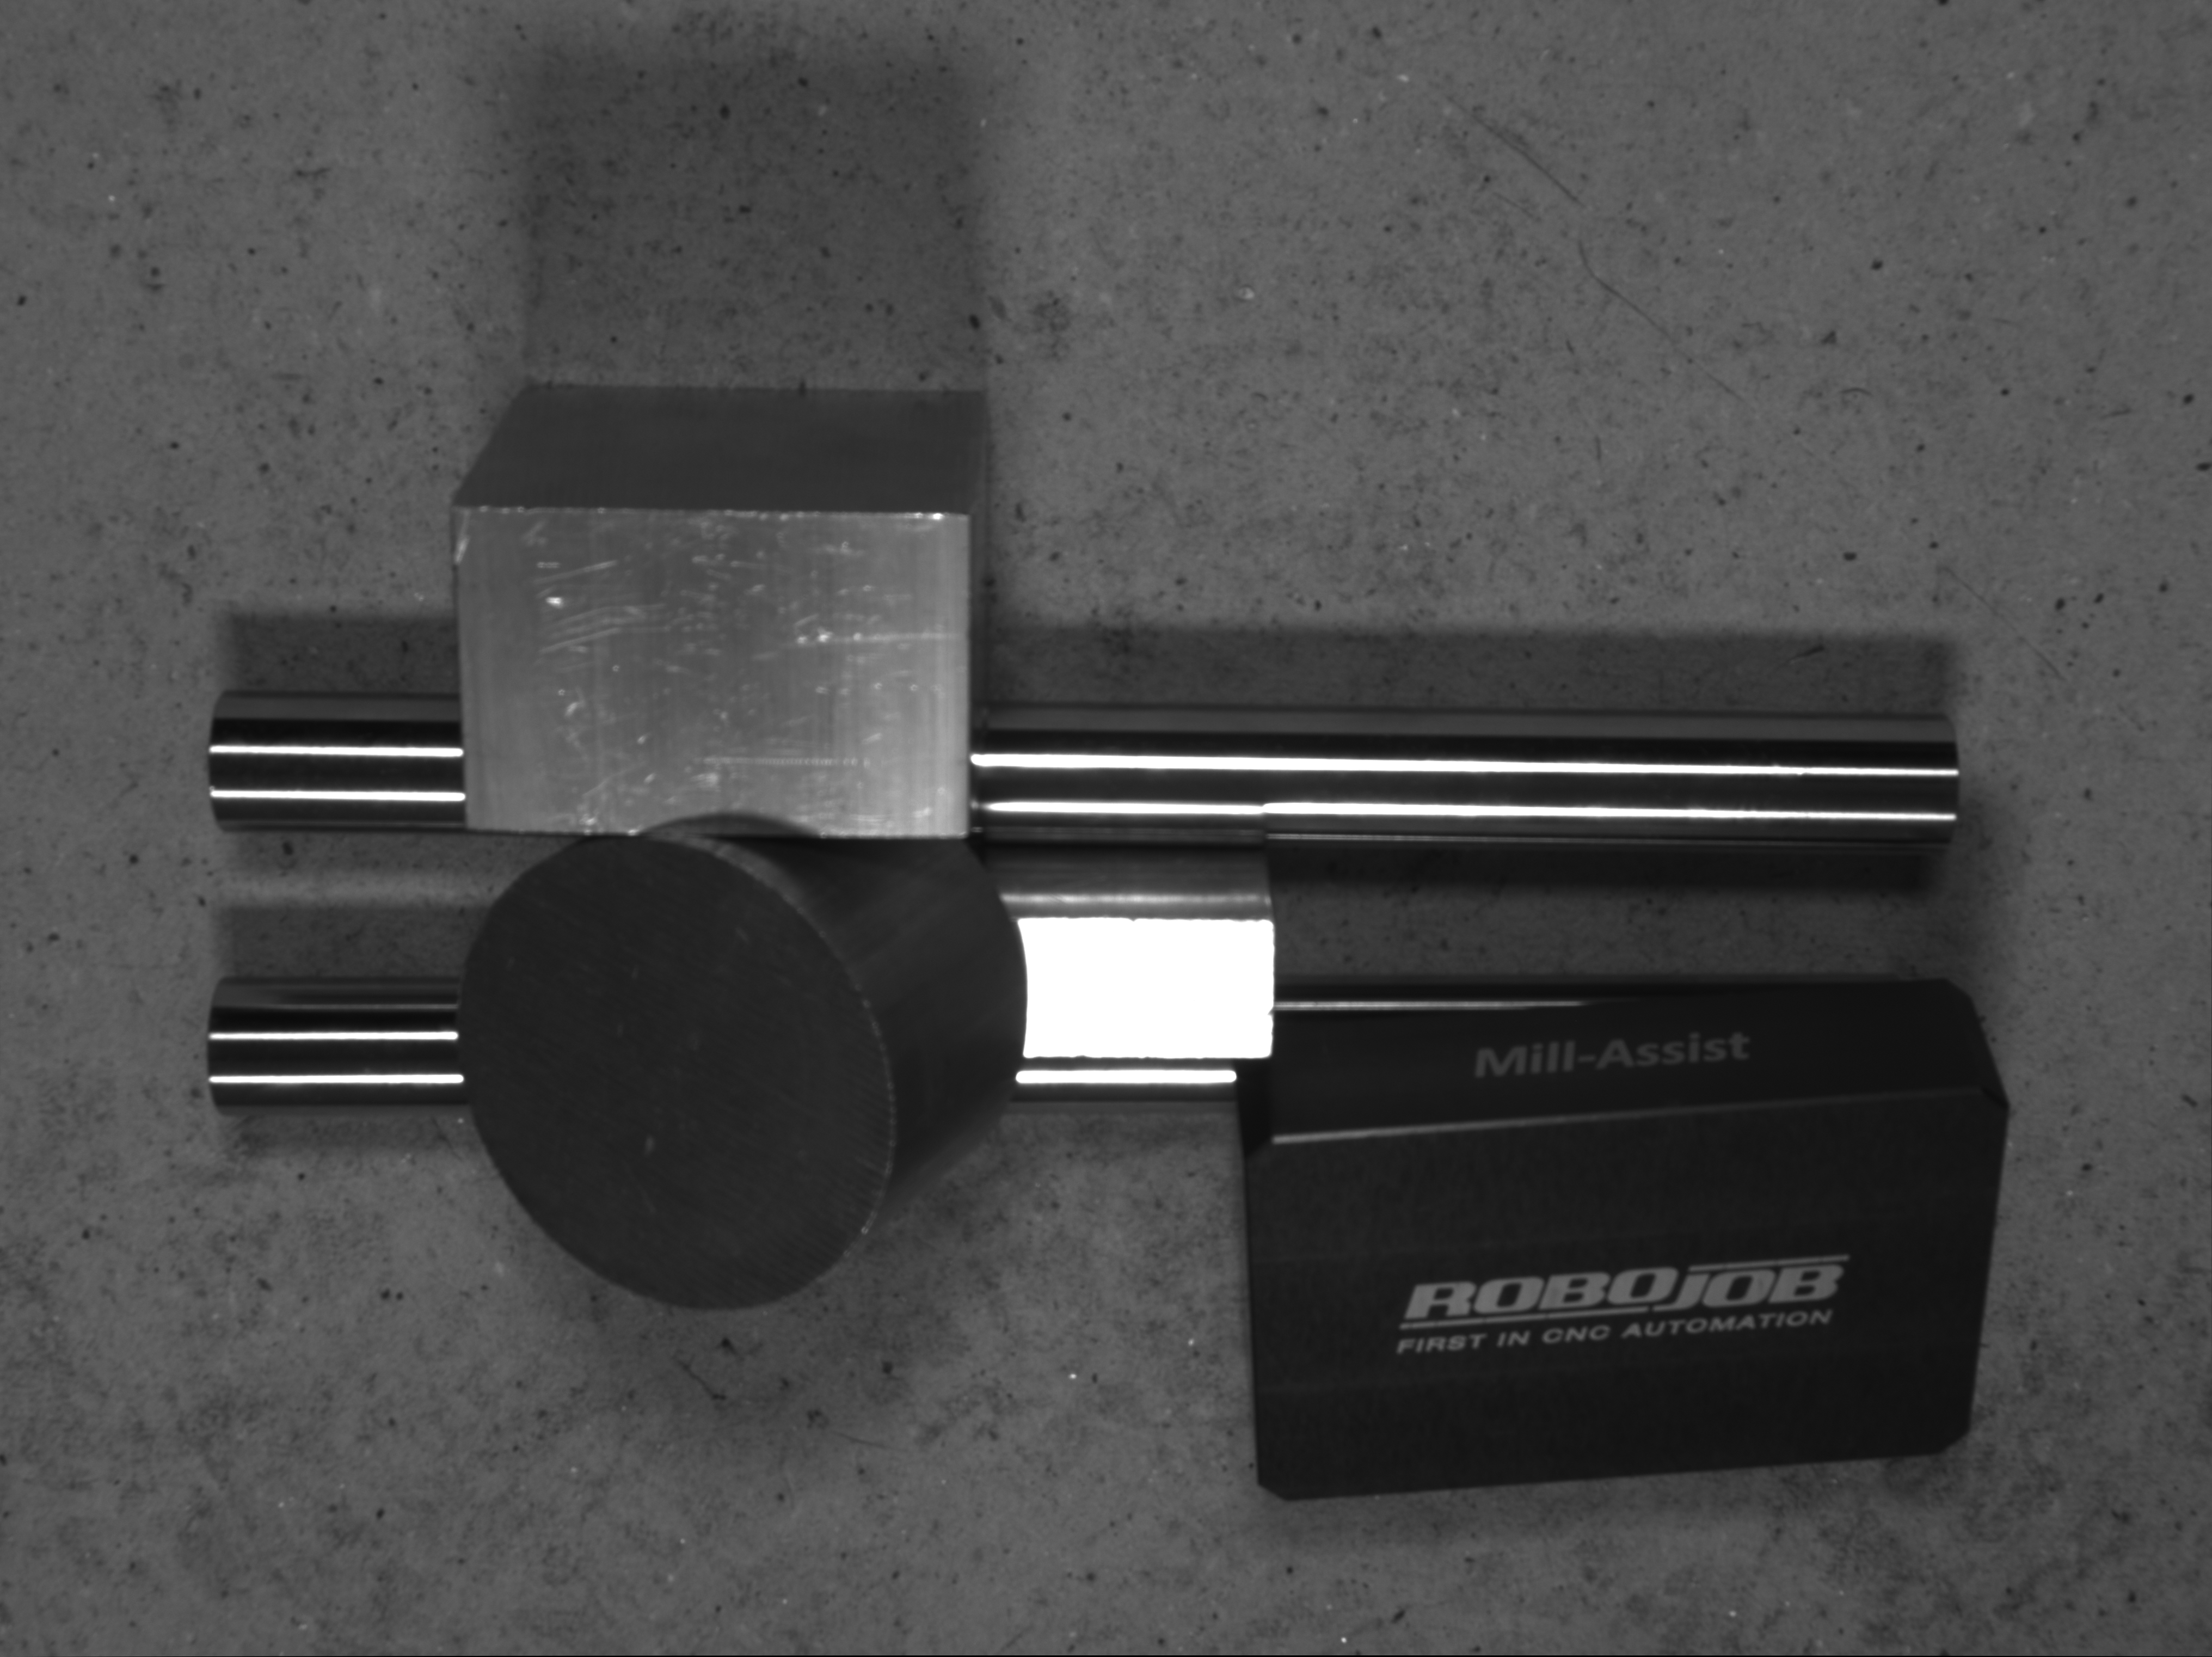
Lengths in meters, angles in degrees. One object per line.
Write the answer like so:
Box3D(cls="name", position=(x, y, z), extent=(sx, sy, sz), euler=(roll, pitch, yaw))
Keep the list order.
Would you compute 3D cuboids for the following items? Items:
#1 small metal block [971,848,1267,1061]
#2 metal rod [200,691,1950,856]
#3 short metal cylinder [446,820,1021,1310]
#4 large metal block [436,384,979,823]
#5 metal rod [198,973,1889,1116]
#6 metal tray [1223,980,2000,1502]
Box3D(cls="small metal block", position=(0.001, 0.019, 0.636), extent=(0.050, 0.050, 0.025), euler=(1, 110, -1))
Box3D(cls="metal rod", position=(-0.005, -0.009, 0.640), extent=(0.300, 0.025, 0.025), euler=(1, 110, -1))
Box3D(cls="short metal cylinder", position=(-0.061, 0.032, 0.603), extent=(0.080, 0.050, 0.080), euler=(8, 109, 22))
Box3D(cls="large metal block", position=(-0.062, -0.039, 0.600), extent=(0.080, 0.080, 0.050), euler=(1, 110, -1))
Box3D(cls="metal rod", position=(-0.010, 0.039, 0.658), extent=(0.300, 0.025, 0.025), euler=(0, 110, -1))
Box3D(cls="metal tray", position=(0.088, 0.075, 0.654), extent=(0.130, 0.030, 0.090), euler=(-4, 128, -1))
